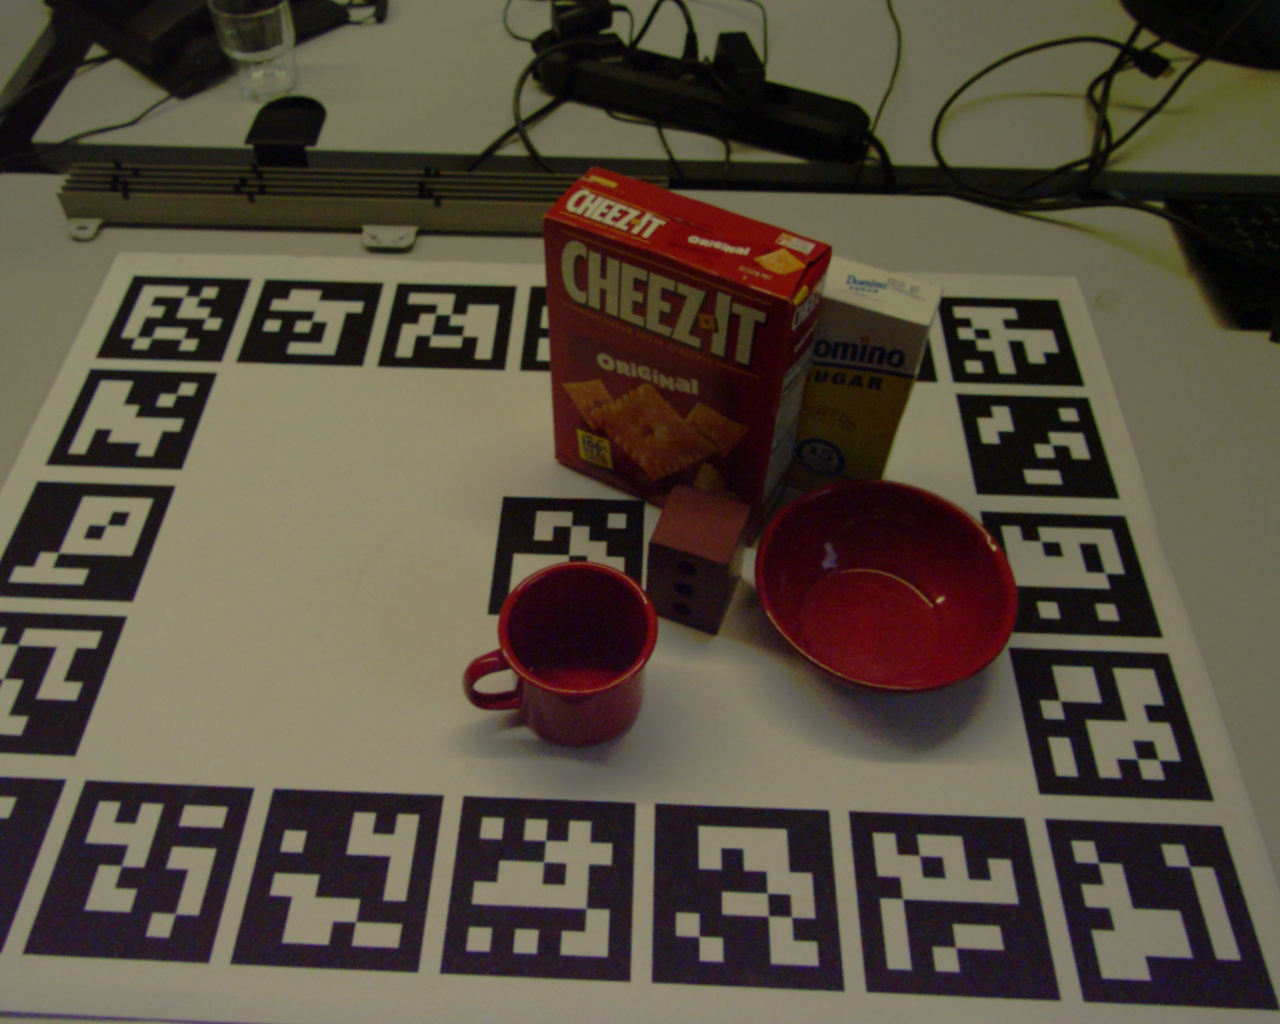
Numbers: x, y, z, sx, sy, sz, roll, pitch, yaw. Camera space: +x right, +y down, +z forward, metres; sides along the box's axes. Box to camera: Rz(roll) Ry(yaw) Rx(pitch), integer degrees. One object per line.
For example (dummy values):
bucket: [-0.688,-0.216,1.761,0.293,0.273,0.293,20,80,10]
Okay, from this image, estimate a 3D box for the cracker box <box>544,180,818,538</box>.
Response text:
cracker box: [0.017,-0.094,0.777,0.166,0.213,0.071,27,53,18]

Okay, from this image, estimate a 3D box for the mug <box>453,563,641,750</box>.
mug: [-0.057,0.094,0.705,0.117,0.081,0.094,-6,43,-3]

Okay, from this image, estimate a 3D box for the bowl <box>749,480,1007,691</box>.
bowl: [0.150,0.057,0.742,0.161,0.055,0.162,0,52,0]

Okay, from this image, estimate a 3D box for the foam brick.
foam brick: [0.028,0.030,0.768,0.053,0.078,0.051,14,52,11]

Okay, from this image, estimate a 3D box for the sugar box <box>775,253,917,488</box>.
sugar box: [0.128,-0.089,0.795,0.093,0.176,0.045,19,53,14]
